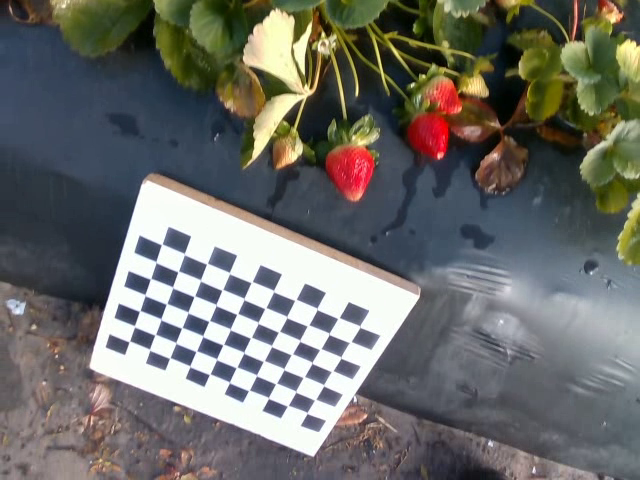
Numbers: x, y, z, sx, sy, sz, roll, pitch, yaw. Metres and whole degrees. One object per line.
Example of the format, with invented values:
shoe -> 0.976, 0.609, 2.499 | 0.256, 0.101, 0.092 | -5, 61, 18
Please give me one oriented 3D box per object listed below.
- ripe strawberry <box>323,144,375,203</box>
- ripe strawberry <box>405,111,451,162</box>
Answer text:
ripe strawberry -> 0.029, -0.063, 0.625 | 0.050, 0.065, 0.050 | -10, -26, 17
ripe strawberry -> 0.106, -0.098, 0.638 | 0.044, 0.055, 0.041 | -33, -30, 27
